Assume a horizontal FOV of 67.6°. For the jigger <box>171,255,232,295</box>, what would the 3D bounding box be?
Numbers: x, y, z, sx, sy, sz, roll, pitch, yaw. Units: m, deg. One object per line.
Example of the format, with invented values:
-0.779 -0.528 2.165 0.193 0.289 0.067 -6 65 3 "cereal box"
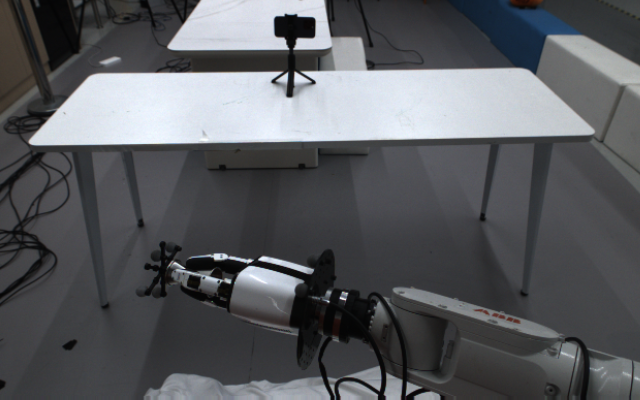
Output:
-0.174 0.106 0.687 0.071 0.043 0.043 10 35 16 "jigger"
